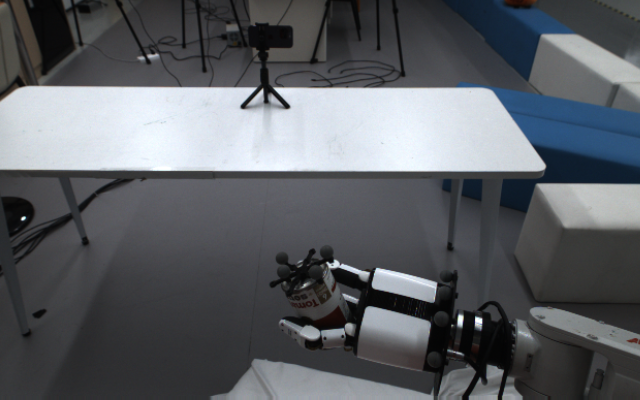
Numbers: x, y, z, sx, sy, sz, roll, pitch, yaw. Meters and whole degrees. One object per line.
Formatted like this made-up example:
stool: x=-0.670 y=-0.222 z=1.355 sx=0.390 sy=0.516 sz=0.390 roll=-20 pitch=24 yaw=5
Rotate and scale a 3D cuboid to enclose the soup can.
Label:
soup can: x=0.001 y=0.136 z=0.637 sx=0.067 sy=0.101 sz=0.067 roll=-21 pitch=24 yaw=10
